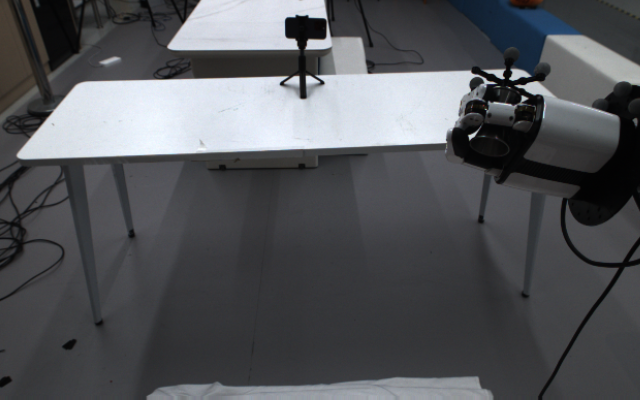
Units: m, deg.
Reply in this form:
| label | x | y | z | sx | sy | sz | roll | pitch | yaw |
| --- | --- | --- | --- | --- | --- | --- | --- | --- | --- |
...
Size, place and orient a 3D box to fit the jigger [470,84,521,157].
| label | x | y | z | sx | sy | sz | roll | pitch | yaw |
| --- | --- | --- | --- | --- | --- | --- | --- | --- | --- |
| jigger | 0.201 | -0.090 | 0.547 | 0.043 | 0.043 | 0.071 | 15 | 70 | 18 |
